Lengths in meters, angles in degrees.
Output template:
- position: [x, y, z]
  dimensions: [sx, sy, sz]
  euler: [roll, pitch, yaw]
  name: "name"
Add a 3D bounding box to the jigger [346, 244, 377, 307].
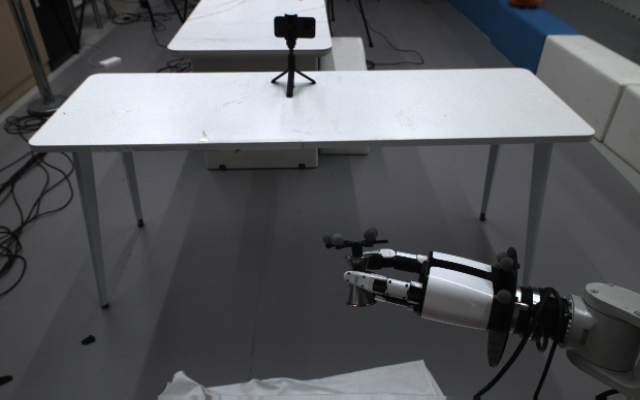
- position: [0.055, 0.111, 0.683]
  dimensions: [0.043, 0.071, 0.043]
  euler: [-4, 1, 0]
  name: "jigger"
